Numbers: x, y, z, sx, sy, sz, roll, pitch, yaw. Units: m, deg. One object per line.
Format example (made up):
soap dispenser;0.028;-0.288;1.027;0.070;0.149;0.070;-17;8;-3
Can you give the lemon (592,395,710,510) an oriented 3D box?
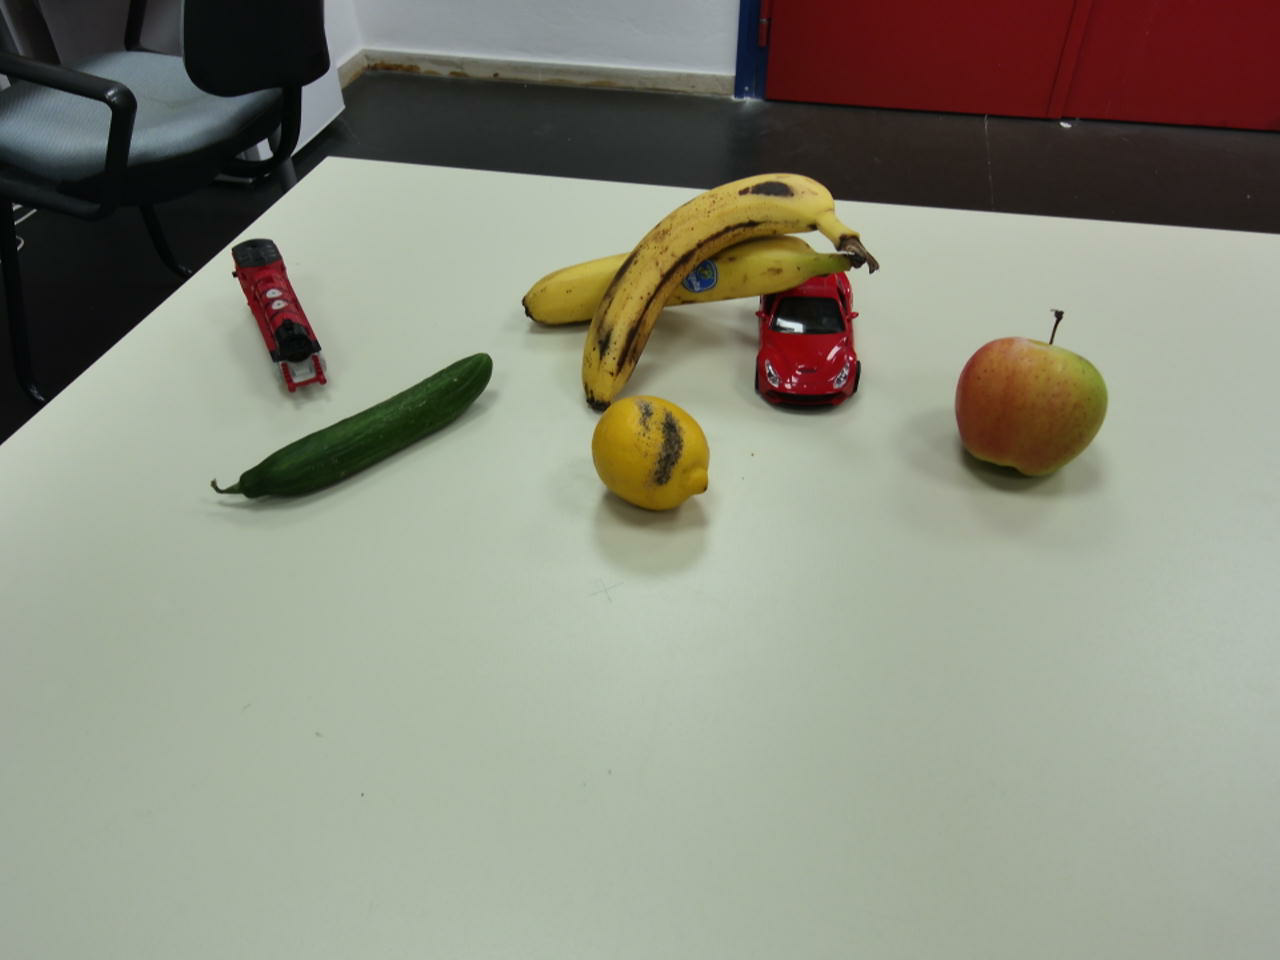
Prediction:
lemon;0.006;-0.014;0.518;0.061;0.056;0.058;2;39;4
